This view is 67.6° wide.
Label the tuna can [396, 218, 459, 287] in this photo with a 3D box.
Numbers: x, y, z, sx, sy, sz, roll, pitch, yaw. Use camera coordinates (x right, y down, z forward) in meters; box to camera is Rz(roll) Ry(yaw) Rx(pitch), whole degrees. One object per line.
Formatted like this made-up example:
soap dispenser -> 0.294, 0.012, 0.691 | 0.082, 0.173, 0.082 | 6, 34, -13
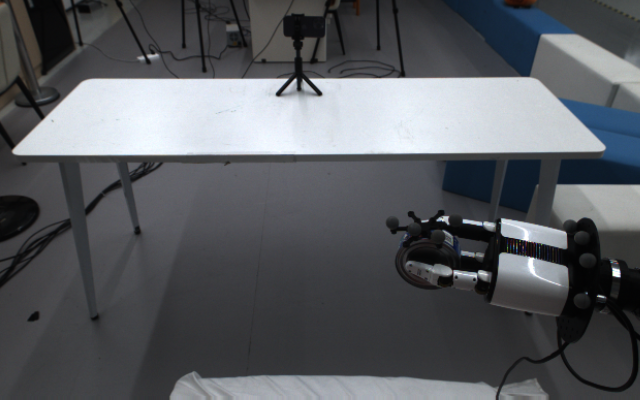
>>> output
tuna can -> 0.148, 0.076, 0.650 | 0.085, 0.085, 0.034 | 10, 33, 11
